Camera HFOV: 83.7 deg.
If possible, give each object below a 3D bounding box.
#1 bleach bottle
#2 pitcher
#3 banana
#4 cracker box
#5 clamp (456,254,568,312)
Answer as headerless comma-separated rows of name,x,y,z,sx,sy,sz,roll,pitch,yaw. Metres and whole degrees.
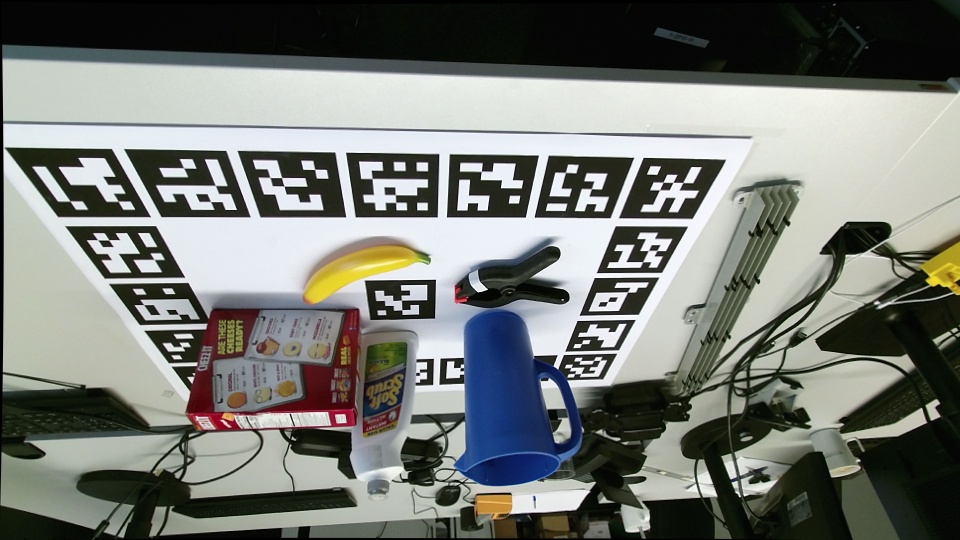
bleach bottle,-0.140,0.219,0.838,0.103,0.249,0.068,-1,142,-8
pitcher,0.052,0.208,0.821,0.189,0.241,0.133,-10,142,9
banana,-0.173,0.009,0.749,0.198,0.038,0.074,-22,140,19
cracker box,-0.288,0.151,0.776,0.214,0.163,0.072,0,144,-10
clamp,0.045,0.029,0.793,0.166,0.036,0.122,-9,143,6
